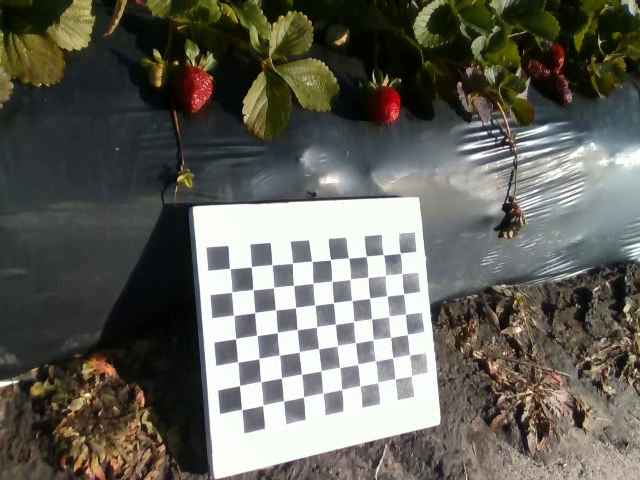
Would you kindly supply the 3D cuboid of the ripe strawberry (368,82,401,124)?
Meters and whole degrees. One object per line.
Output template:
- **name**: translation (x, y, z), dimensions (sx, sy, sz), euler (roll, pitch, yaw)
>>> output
- **ripe strawberry**: translation (0.069, -0.136, 0.771), dimensions (0.042, 0.043, 0.050), euler (35, 23, -26)

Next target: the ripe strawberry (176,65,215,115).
- **ripe strawberry**: translation (-0.115, -0.135, 0.676), dimensions (0.041, 0.043, 0.053), euler (9, 39, -32)
